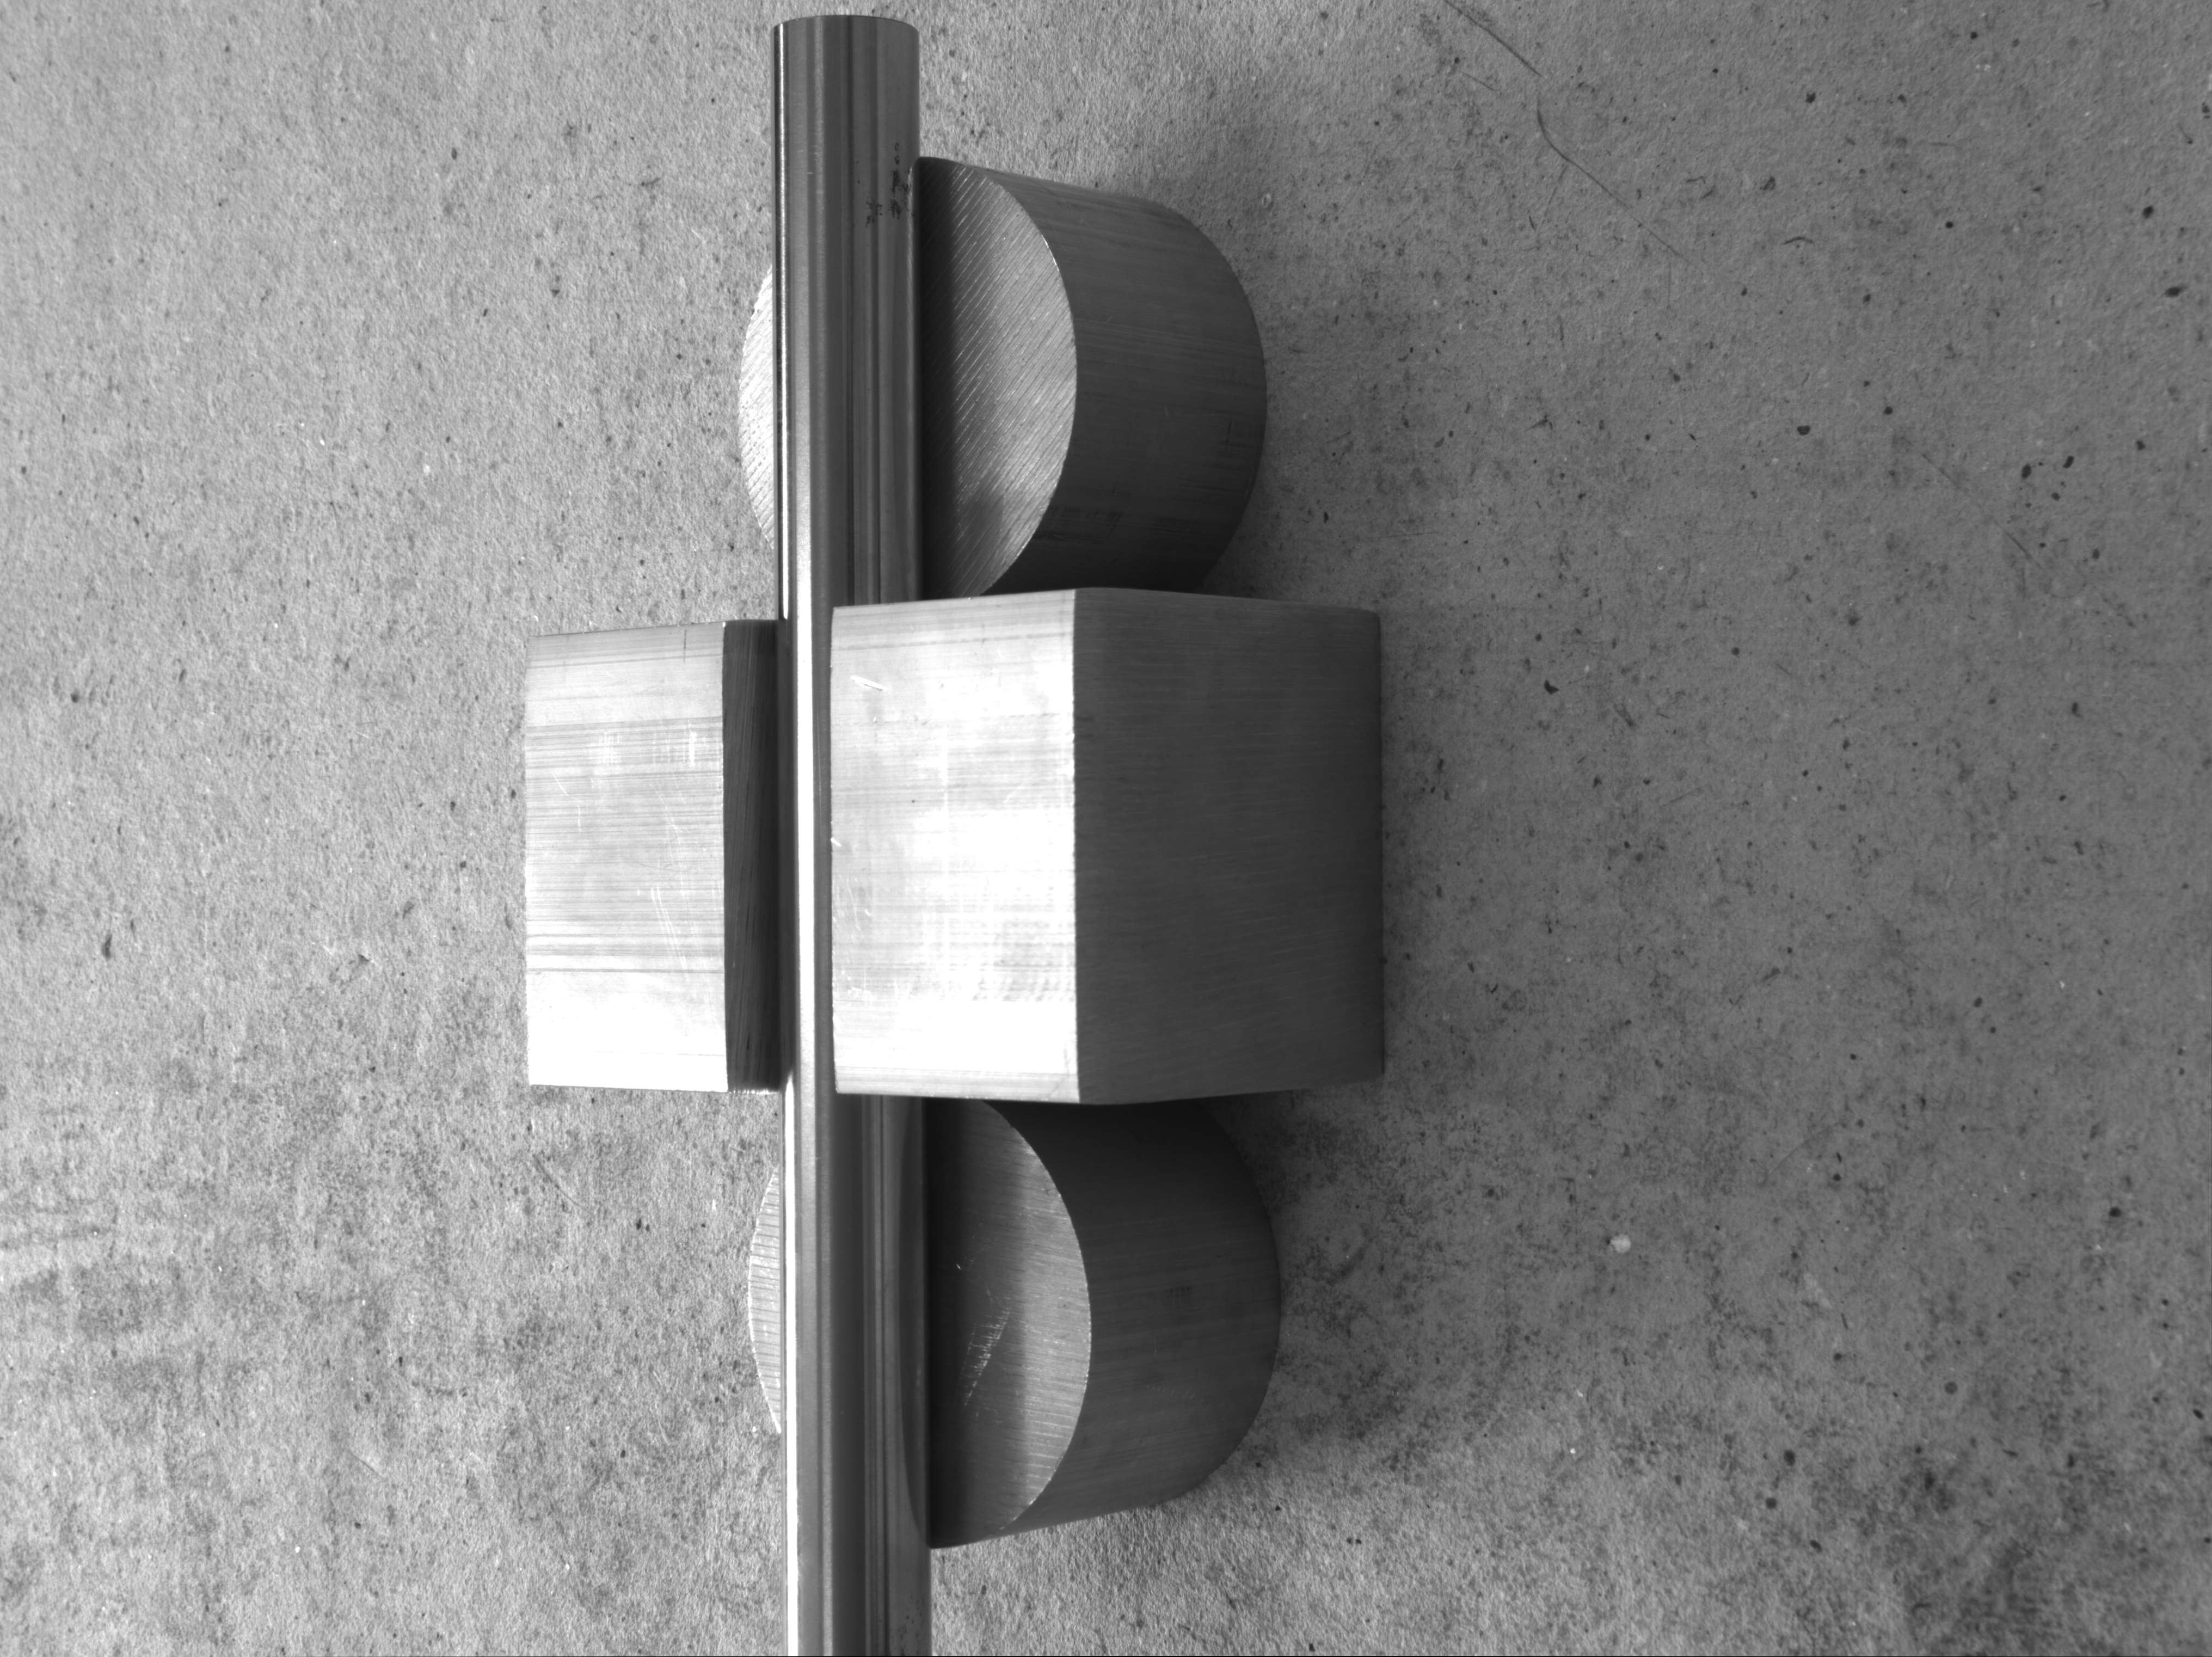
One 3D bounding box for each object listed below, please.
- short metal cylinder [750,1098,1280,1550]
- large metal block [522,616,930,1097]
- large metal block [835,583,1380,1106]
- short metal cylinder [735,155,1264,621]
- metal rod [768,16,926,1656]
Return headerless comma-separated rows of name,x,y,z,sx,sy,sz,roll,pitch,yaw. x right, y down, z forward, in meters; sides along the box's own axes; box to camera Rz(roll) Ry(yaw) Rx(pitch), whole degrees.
short metal cylinder,-0.016,0.083,0.644,0.080,0.050,0.080,-1,89,40
large metal block,-0.057,0.005,0.658,0.050,0.080,0.080,-1,89,40
large metal block,0.001,0.003,0.608,0.050,0.080,0.080,-1,89,40
short metal cylinder,-0.019,-0.074,0.646,0.080,0.050,0.080,-1,89,40
metal rod,-0.043,0.016,0.616,0.025,0.025,0.300,-1,89,40
